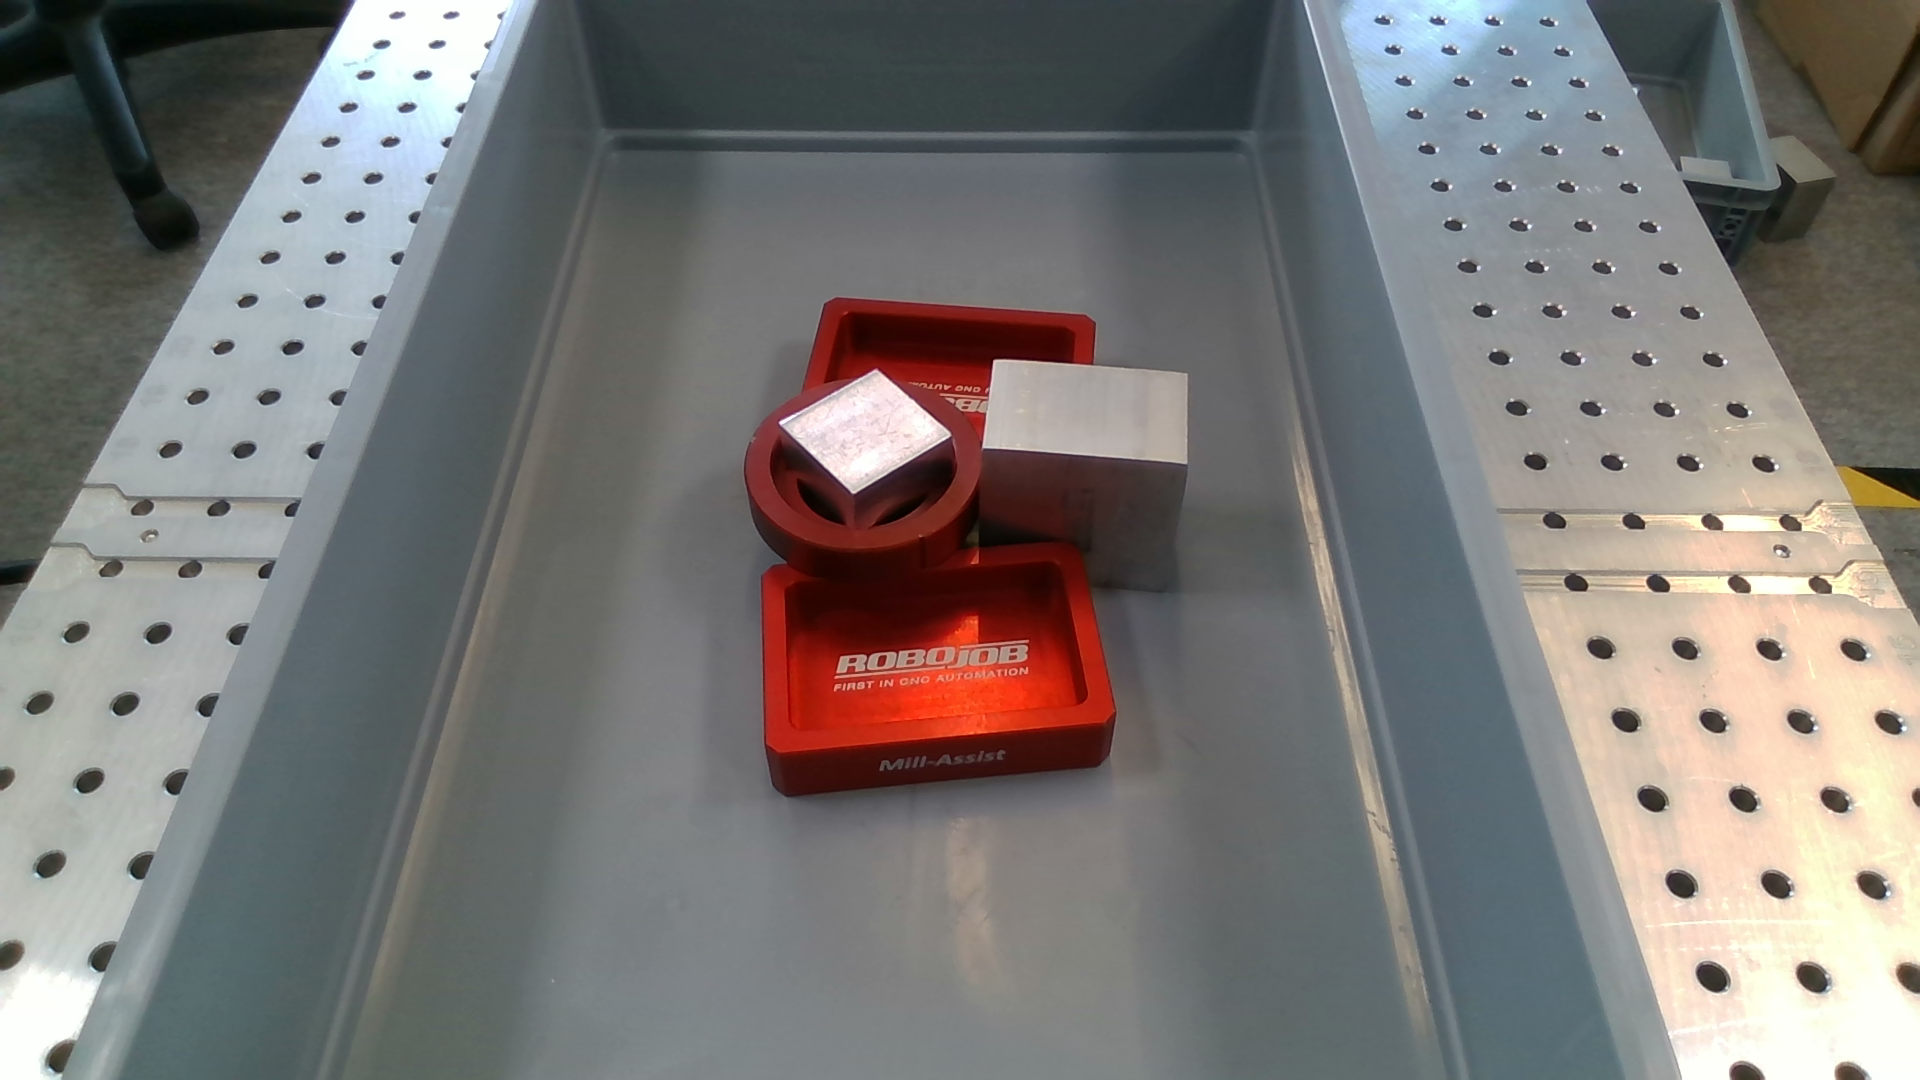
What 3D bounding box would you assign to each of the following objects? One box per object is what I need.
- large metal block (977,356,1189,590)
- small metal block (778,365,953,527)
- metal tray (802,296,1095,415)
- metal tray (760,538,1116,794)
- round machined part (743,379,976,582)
[{"bbox_3d":[0.050,-0.027,0.572,0.080,0.080,0.050,5,50,4],"label":"large metal block"},{"bbox_3d":[-0.038,-0.038,0.562,0.050,0.025,0.050,-32,57,-24],"label":"small metal block"},{"bbox_3d":[-0.005,-0.069,0.639,0.130,0.030,0.090,5,50,4],"label":"metal tray"},{"bbox_3d":[-0.011,0.048,0.542,0.130,0.030,0.090,-5,50,-4],"label":"metal tray"},{"bbox_3d":[-0.040,-0.020,0.579,0.098,0.042,0.098,0,50,0],"label":"round machined part"}]
